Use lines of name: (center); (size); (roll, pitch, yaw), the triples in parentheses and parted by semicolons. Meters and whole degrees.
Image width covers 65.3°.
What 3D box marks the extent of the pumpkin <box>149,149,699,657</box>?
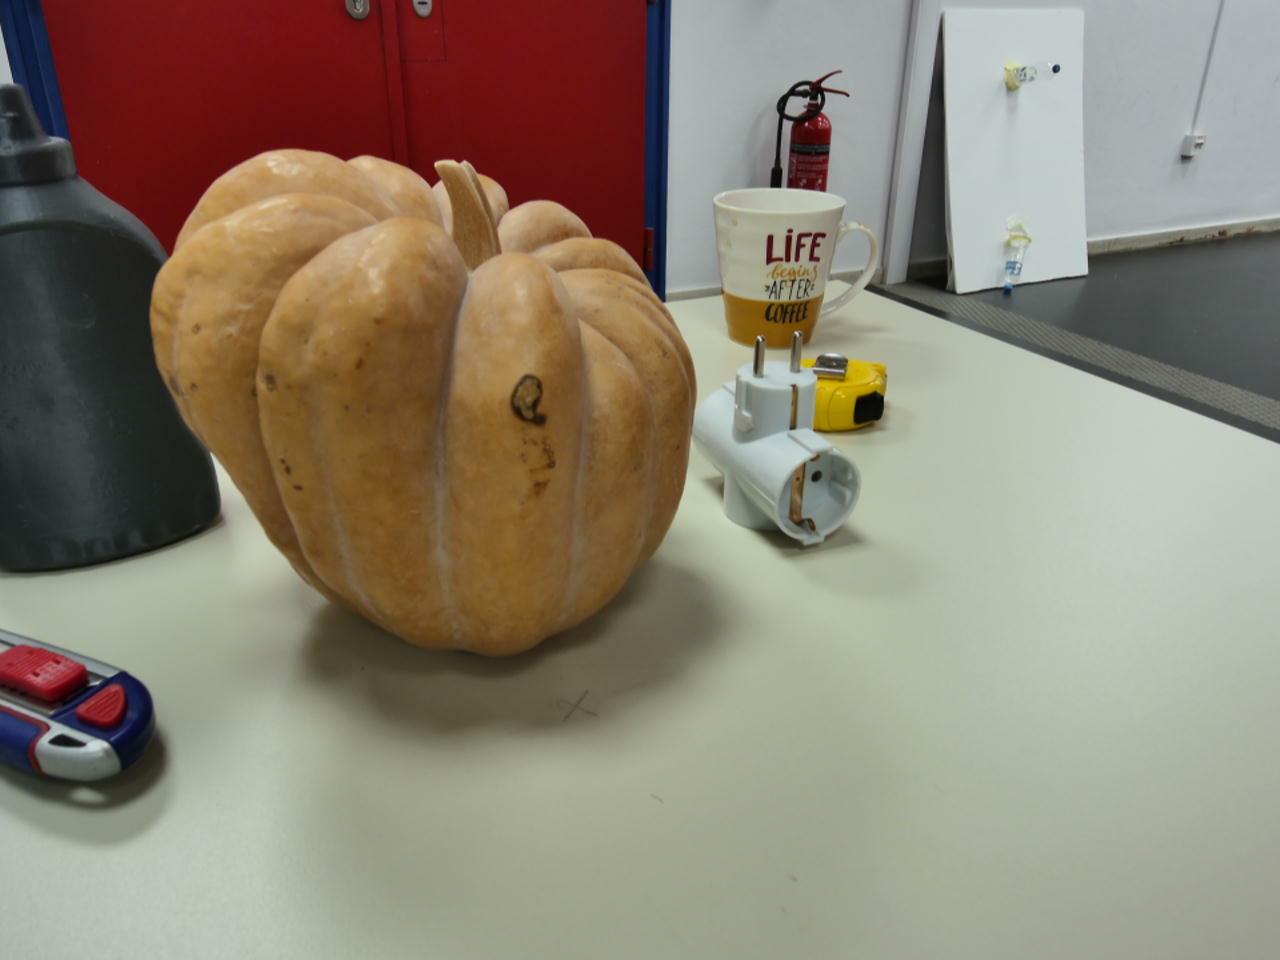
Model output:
pumpkin: (-0.074, -0.030, 0.374); (0.199, 0.177, 0.198); (0, 24, 0)
